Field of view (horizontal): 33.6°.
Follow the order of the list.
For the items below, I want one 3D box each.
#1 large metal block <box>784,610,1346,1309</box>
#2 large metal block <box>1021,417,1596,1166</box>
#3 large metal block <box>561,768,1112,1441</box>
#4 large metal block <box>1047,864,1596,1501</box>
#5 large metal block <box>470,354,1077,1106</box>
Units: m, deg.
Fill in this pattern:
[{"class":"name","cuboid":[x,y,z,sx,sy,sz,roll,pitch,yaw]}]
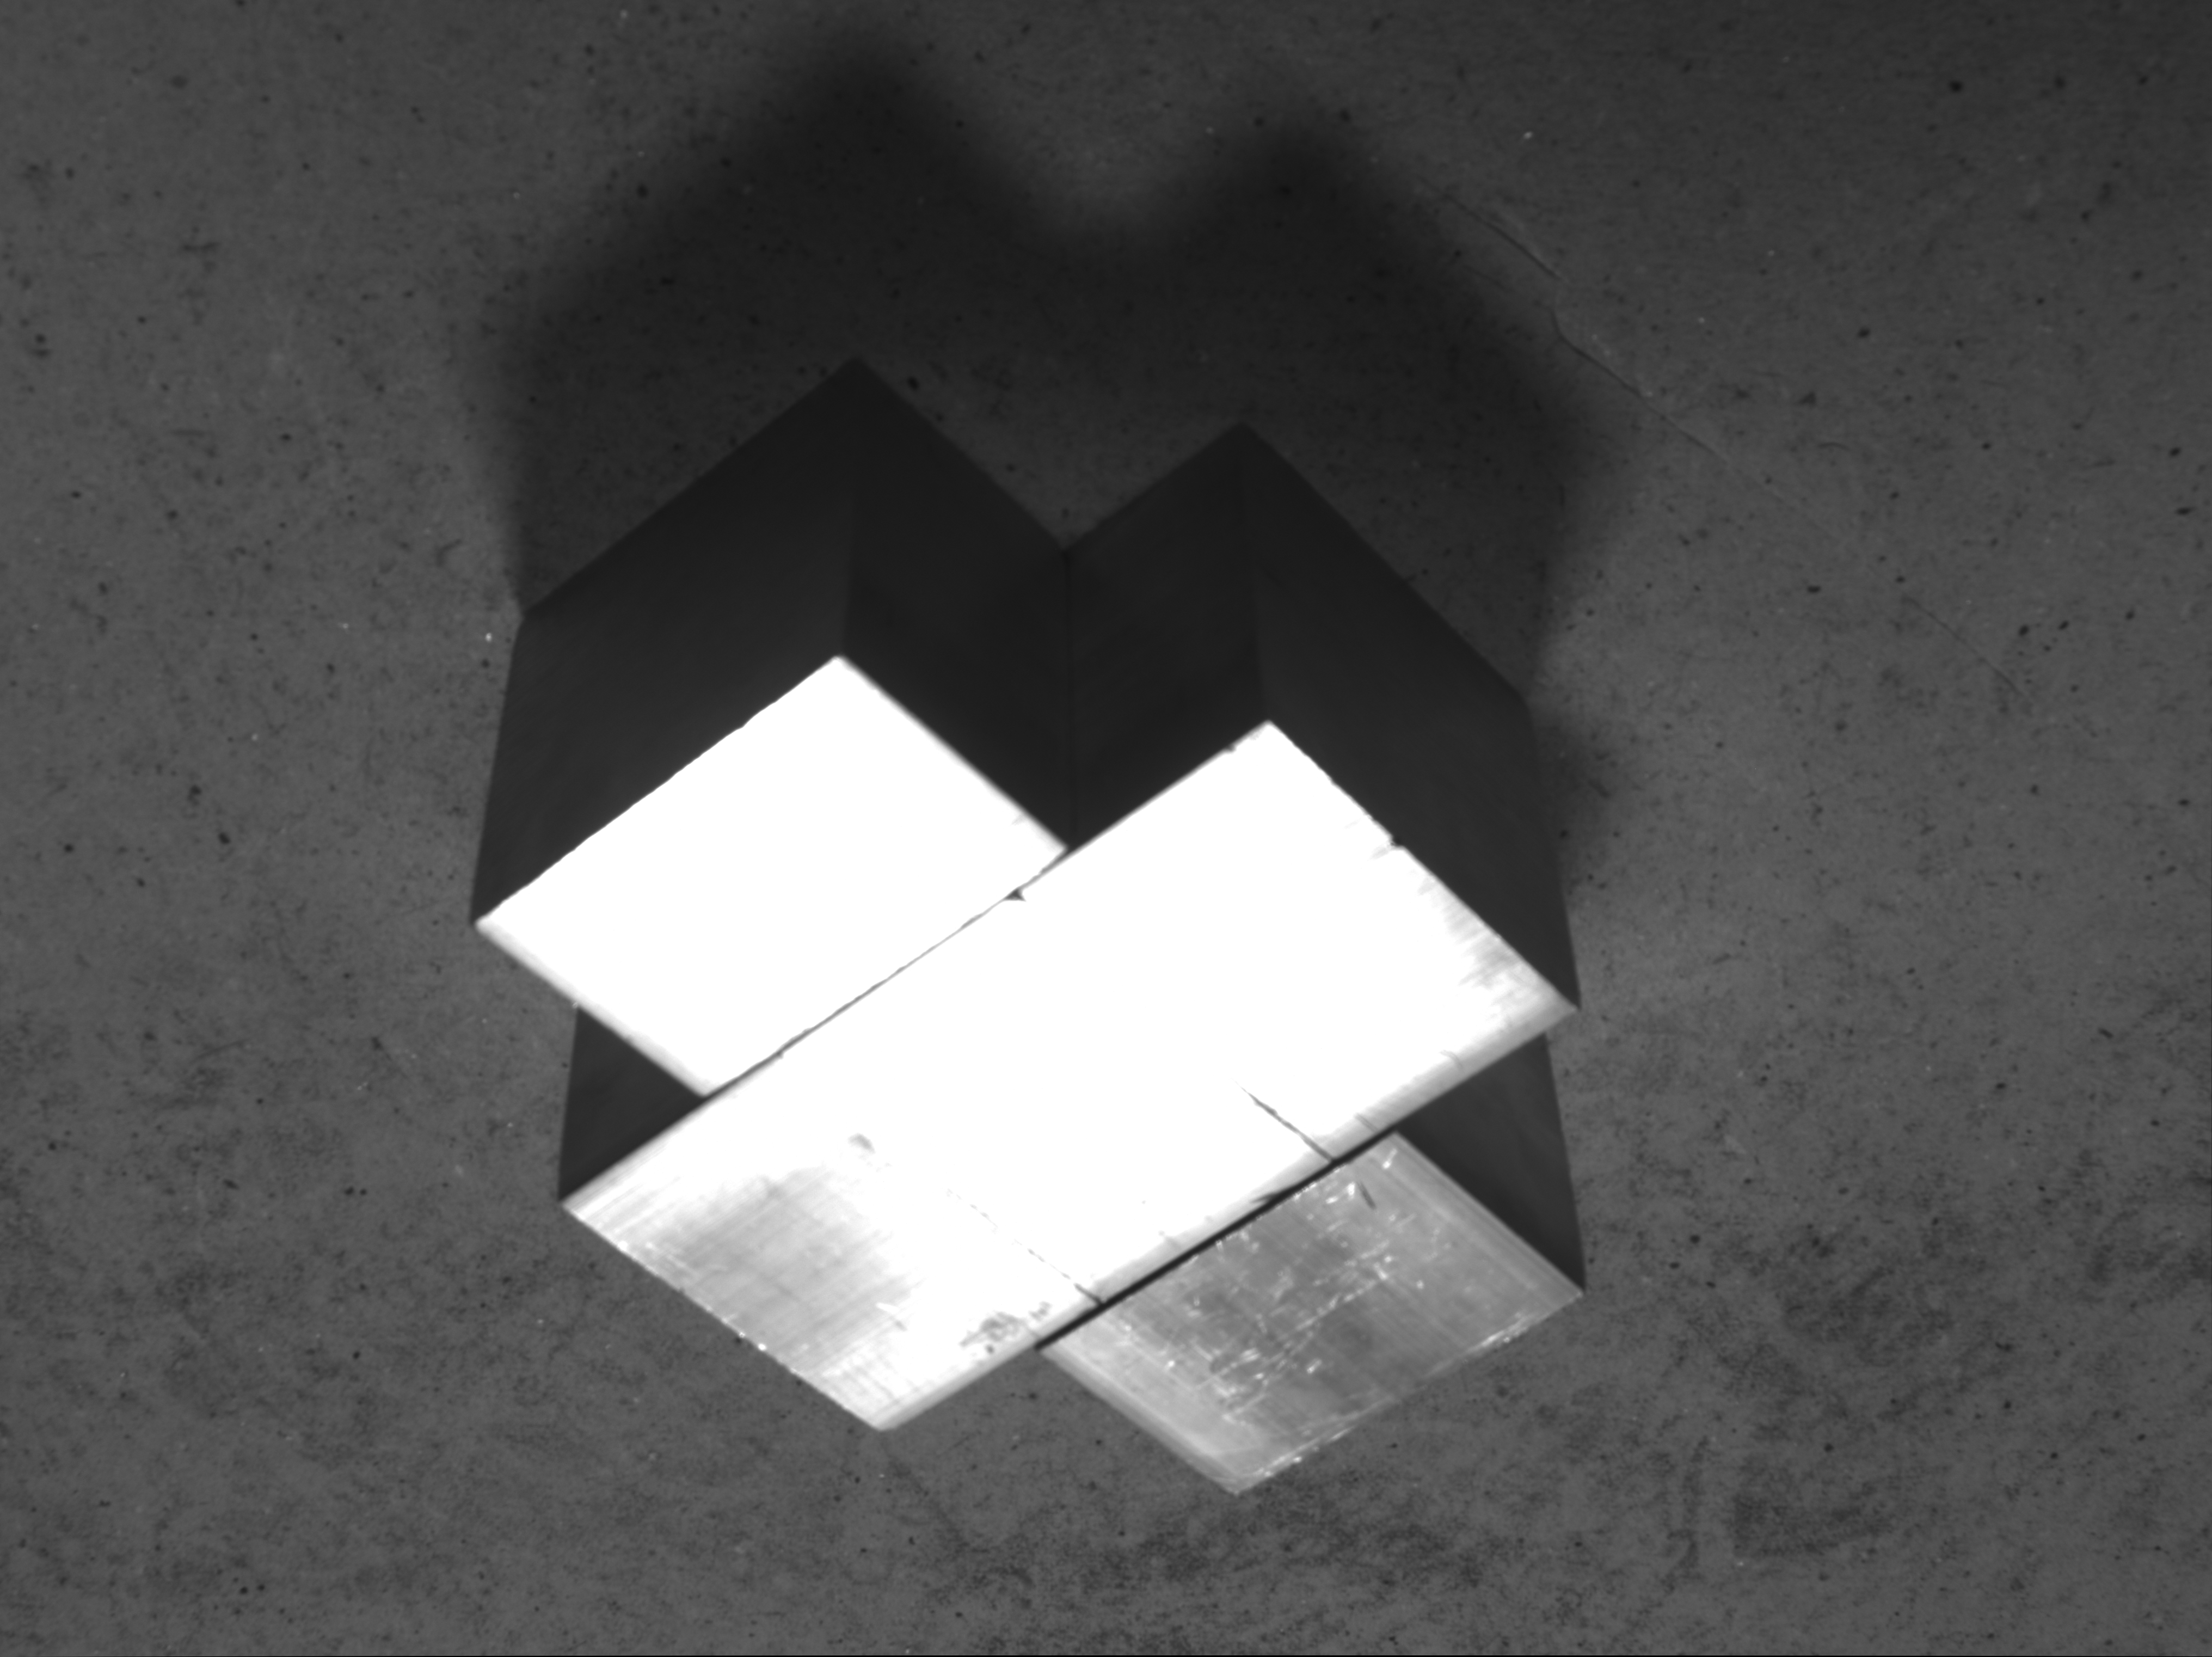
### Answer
[{"class":"large metal block","cuboid":[-0.007,0.020,0.620,0.050,0.080,0.080,-34,123,24]},{"class":"large metal block","cuboid":[0.031,-0.006,0.599,0.050,0.080,0.080,-34,123,24]},{"class":"large metal block","cuboid":[-0.045,0.046,0.640,0.050,0.080,0.080,-34,123,24]},{"class":"large metal block","cuboid":[0.036,0.059,0.654,0.080,0.080,0.050,-34,123,24]},{"class":"large metal block","cuboid":[-0.052,-0.016,0.588,0.080,0.080,0.050,-34,123,24]}]
